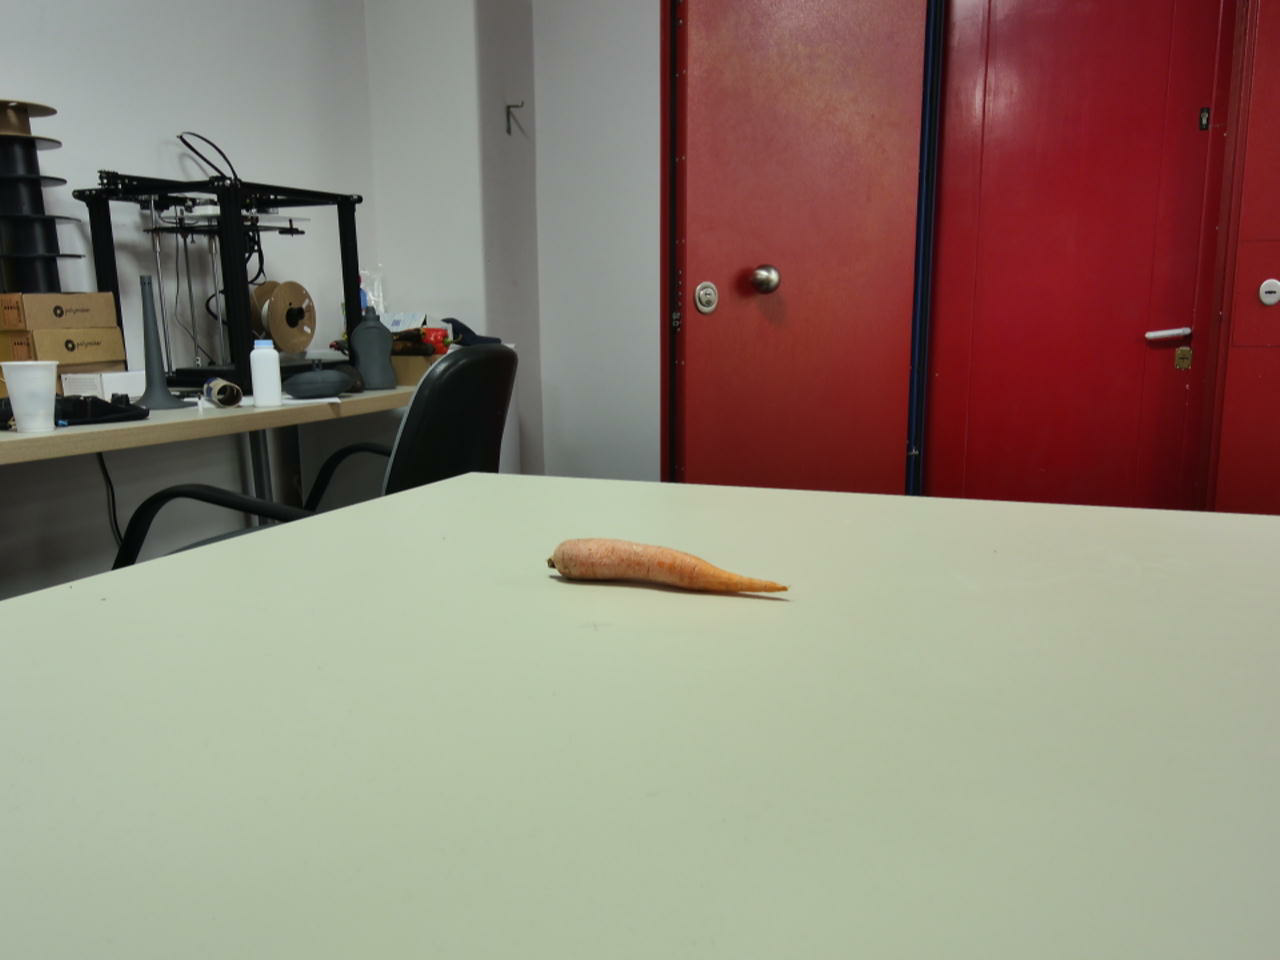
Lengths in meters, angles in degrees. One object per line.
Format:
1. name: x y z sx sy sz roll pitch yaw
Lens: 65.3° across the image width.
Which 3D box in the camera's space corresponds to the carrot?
1. carrot: 0.014 0.054 0.628 0.163 0.029 0.031 3 8 23
